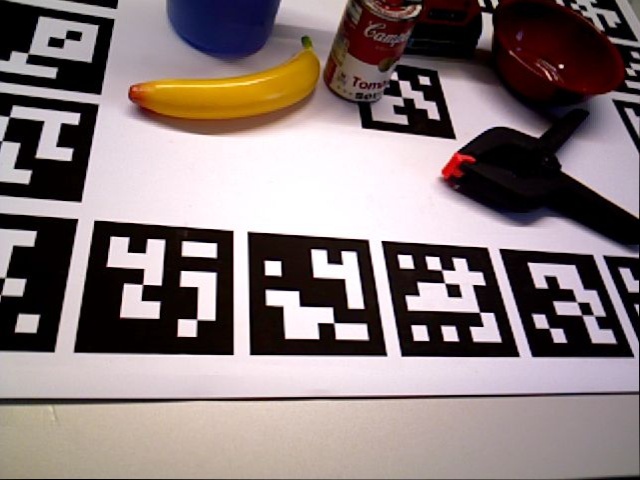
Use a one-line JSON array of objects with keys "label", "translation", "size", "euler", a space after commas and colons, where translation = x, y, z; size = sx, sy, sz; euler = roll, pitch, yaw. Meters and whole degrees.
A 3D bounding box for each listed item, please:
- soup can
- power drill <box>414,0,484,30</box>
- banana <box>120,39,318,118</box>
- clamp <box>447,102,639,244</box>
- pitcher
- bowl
[{"label": "soup can", "translation": [0.048, -0.193, 0.505], "size": [0.067, 0.104, 0.067], "euler": [8, 49, -11]}, {"label": "power drill", "translation": [0.166, -0.304, 0.532], "size": [0.182, 0.191, 0.057], "euler": [-1, 59, -19]}, {"label": "banana", "translation": [-0.073, -0.139, 0.475], "size": [0.193, 0.040, 0.074], "euler": [-21, 59, -29]}, {"label": "clamp", "translation": [0.215, -0.071, 0.512], "size": [0.200, 0.037, 0.164], "euler": [0, 64, -17]}, {"label": "pitcher", "translation": [-0.054, -0.289, 0.444], "size": [0.185, 0.248, 0.133], "euler": [-21, 64, -28]}, {"label": "bowl", "translation": [0.254, -0.204, 0.603], "size": [0.160, 0.056, 0.159], "euler": [7, 59, -13]}]
